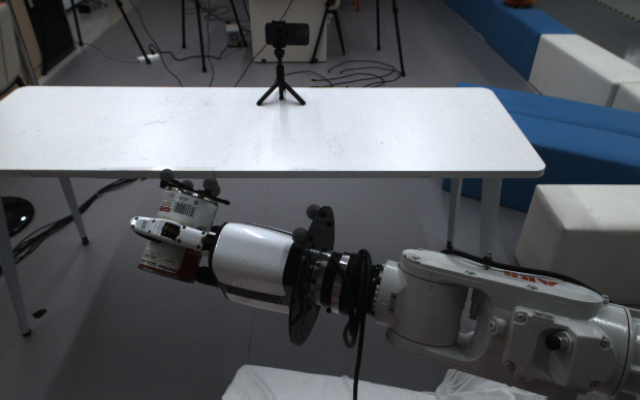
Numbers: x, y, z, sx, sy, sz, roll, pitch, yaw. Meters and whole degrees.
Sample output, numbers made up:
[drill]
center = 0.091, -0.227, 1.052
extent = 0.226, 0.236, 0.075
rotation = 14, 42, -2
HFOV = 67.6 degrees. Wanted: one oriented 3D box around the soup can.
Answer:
[soup can]
center = -0.169, 0.044, 0.585
extent = 0.067, 0.067, 0.101
rotation = 13, 77, 15
